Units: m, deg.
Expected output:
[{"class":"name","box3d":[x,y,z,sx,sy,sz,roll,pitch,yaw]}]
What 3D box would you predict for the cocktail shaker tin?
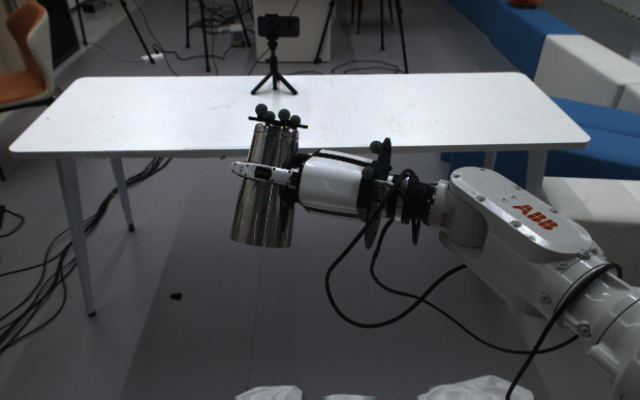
[{"class":"cocktail shaker tin","box3d":[-0.075,-0.022,0.715,0.093,0.170,0.093,9,3,0]}]
